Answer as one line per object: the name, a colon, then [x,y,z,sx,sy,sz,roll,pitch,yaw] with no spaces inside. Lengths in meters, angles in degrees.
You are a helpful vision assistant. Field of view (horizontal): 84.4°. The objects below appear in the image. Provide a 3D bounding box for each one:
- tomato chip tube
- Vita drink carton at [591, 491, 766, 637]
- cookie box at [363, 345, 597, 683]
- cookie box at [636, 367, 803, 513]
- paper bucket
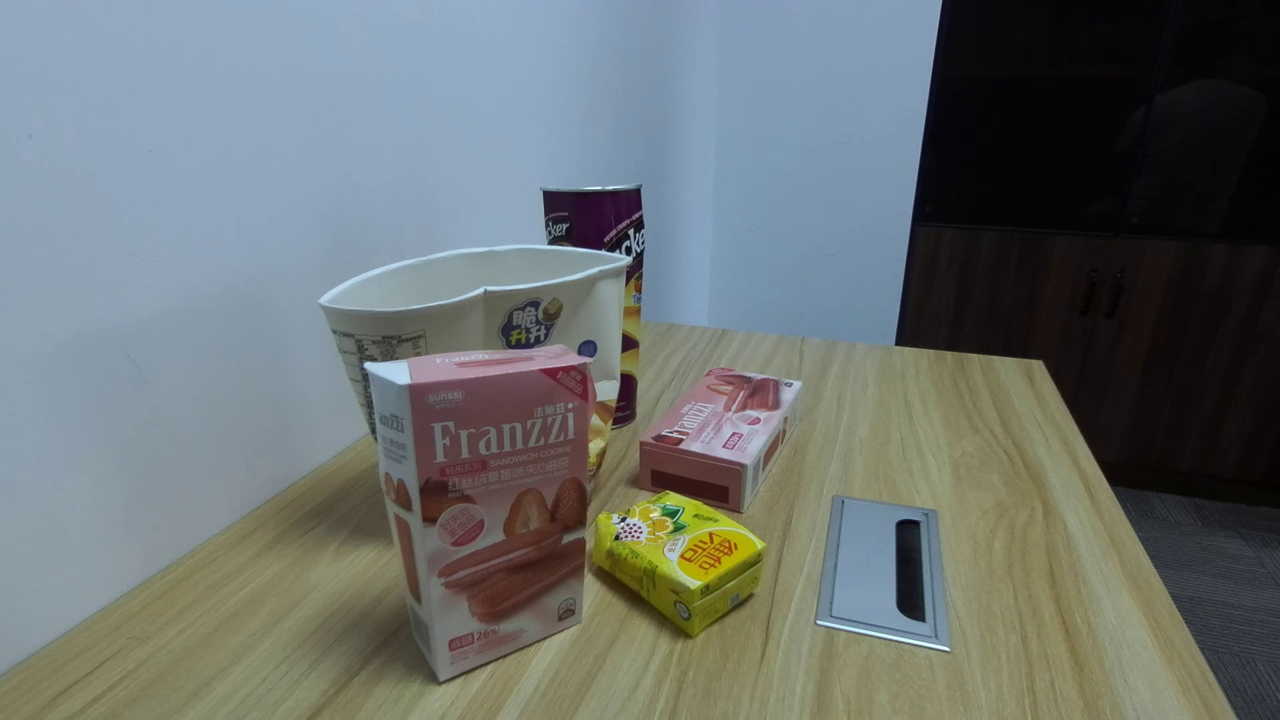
tomato chip tube: [-0.041,-0.053,0.700,0.077,0.235,0.076,11,23,30]
Vita drink carton: [0.025,0.133,0.485,0.087,0.042,0.107,-21,25,-31]
cookie box: [-0.085,0.085,0.416,0.119,0.184,0.055,-10,24,-25]
cookie box: [0.080,0.065,0.648,0.096,0.048,0.185,10,23,23]
paper bucket: [-0.108,0.021,0.556,0.147,0.199,0.218,10,23,23]
